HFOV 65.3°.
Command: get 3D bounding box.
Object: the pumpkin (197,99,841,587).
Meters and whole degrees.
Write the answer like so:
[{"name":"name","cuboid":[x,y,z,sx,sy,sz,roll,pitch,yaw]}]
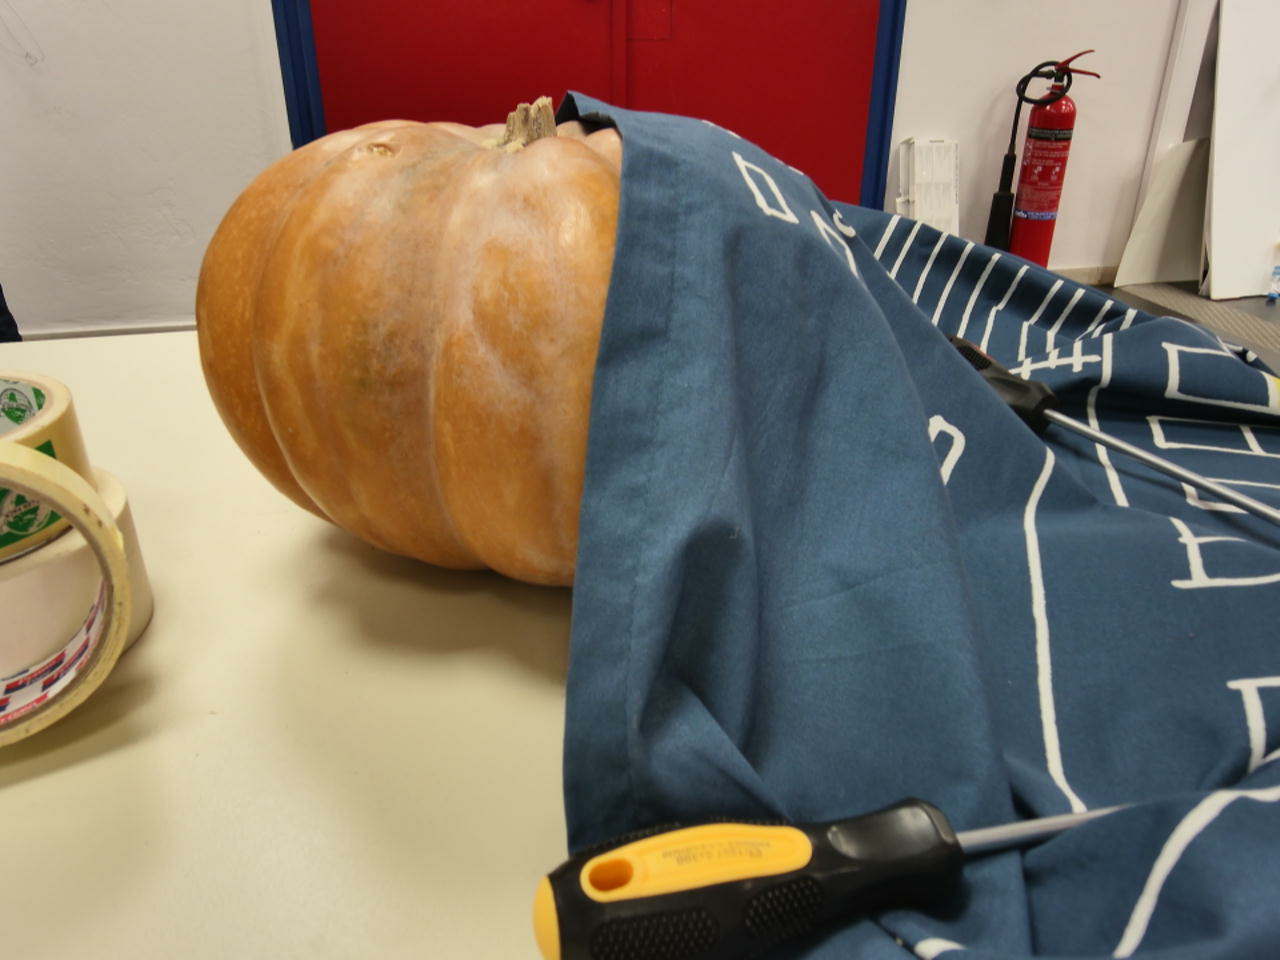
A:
[{"name":"pumpkin","cuboid":[-0.044,-0.065,0.427,0.277,0.181,0.277,0,25,0]}]
